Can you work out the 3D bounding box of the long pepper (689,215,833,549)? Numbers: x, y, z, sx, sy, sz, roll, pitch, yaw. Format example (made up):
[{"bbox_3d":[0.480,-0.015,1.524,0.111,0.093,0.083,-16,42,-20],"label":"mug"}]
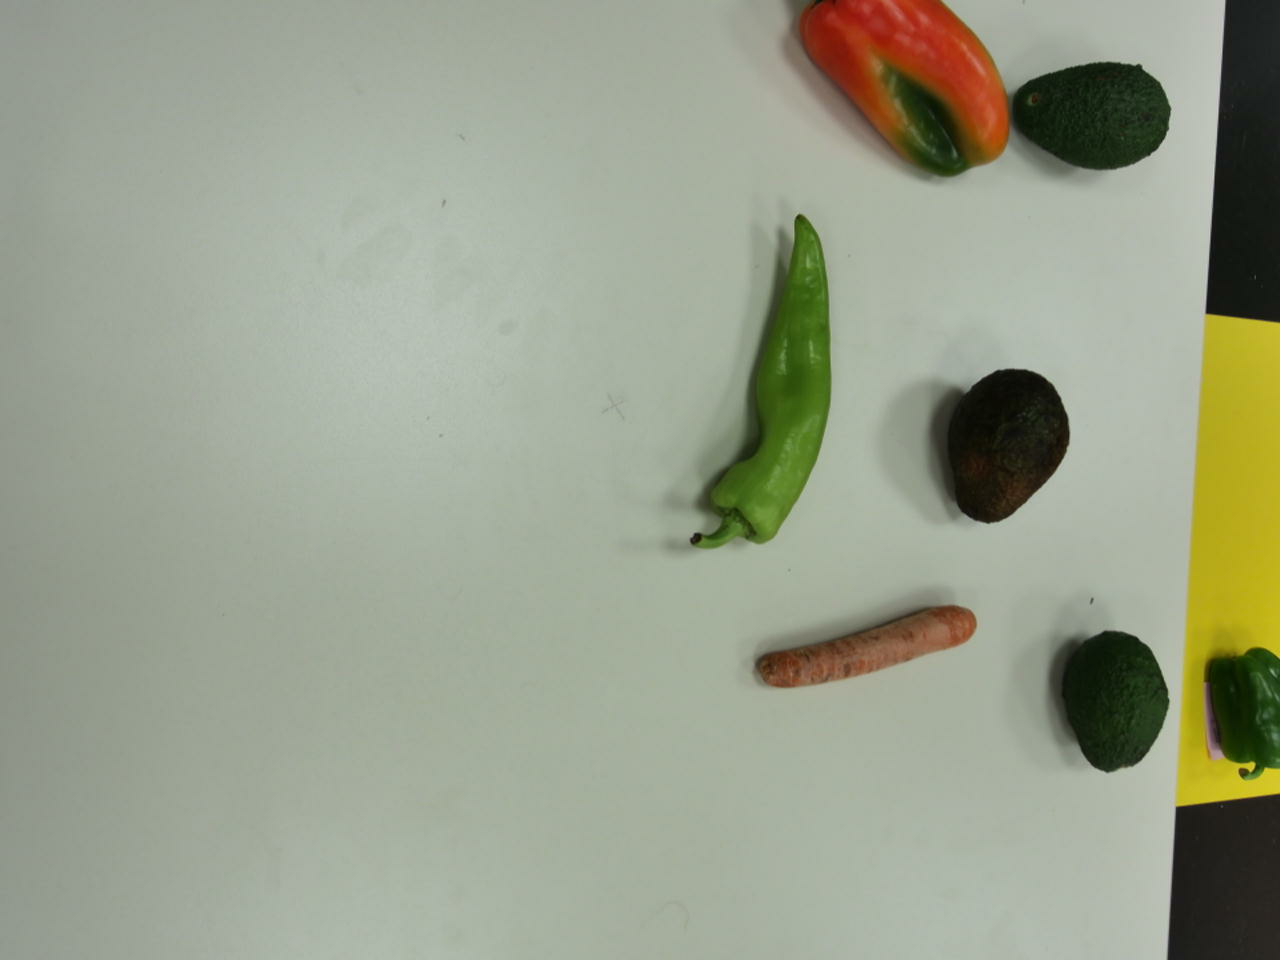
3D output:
[{"bbox_3d":[0.085,-0.050,0.582,0.065,0.045,0.204,23,82,-21],"label":"long pepper"}]
